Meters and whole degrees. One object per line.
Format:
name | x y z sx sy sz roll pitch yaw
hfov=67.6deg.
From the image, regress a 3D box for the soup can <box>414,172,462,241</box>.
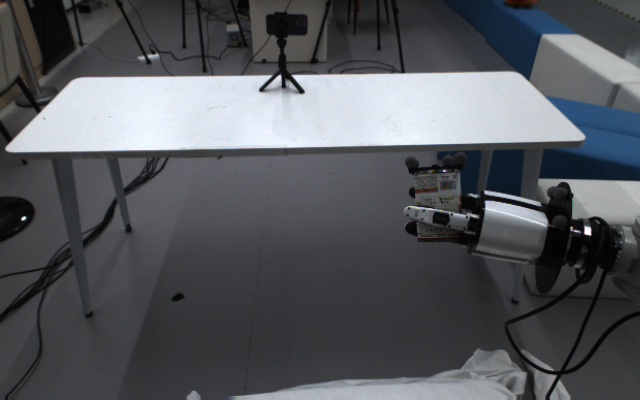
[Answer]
soup can | 0.175 0.008 0.707 0.067 0.101 0.067 -3 -1 0
